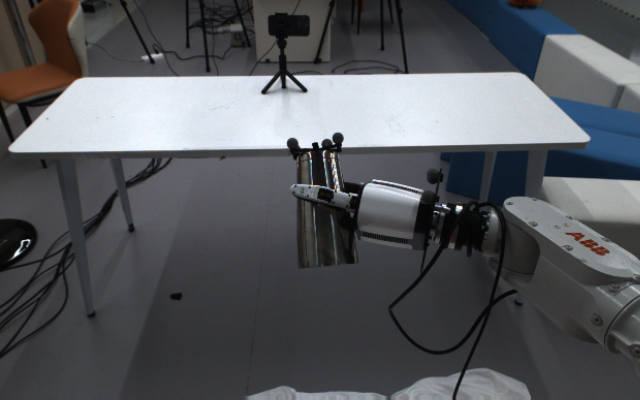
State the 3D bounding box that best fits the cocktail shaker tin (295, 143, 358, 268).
[{"bbox_3d":[0.004,0.015,0.738,0.093,0.170,0.093,-6,-7,-1],"label":"cocktail shaker tin"}]
